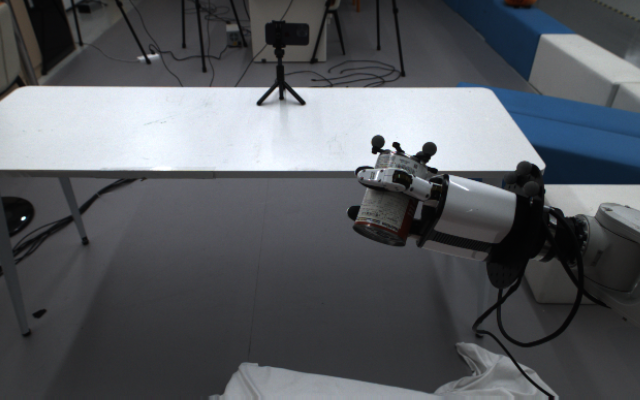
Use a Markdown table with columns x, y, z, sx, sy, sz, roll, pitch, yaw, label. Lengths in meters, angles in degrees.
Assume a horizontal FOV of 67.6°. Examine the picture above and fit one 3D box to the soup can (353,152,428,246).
| x | y | z | sx | sy | sz | roll | pitch | yaw | label |
| --- | --- | --- | --- | --- | --- | --- | --- | --- | --- |
| 0.090 | -0.002 | 0.604 | 0.067 | 0.067 | 0.101 | 15 | 75 | 18 | soup can |
